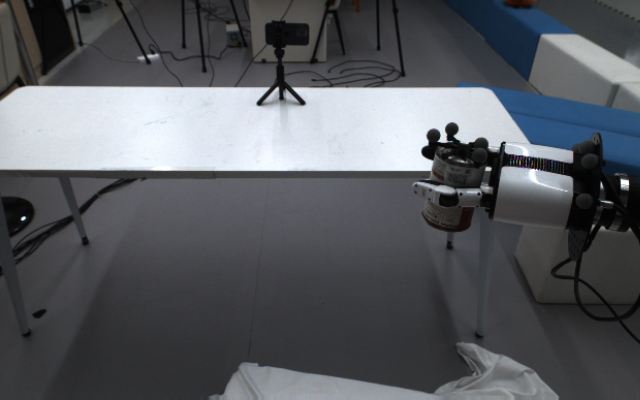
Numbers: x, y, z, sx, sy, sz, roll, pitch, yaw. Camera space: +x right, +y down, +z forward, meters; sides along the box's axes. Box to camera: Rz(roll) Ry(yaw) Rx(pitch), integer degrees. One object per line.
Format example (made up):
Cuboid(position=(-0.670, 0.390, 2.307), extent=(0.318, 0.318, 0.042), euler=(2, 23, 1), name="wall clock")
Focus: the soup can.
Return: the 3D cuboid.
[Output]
Cuboid(position=(0.180, -0.018, 0.648), extent=(0.067, 0.101, 0.067), euler=(3, 30, -2), name="soup can")
